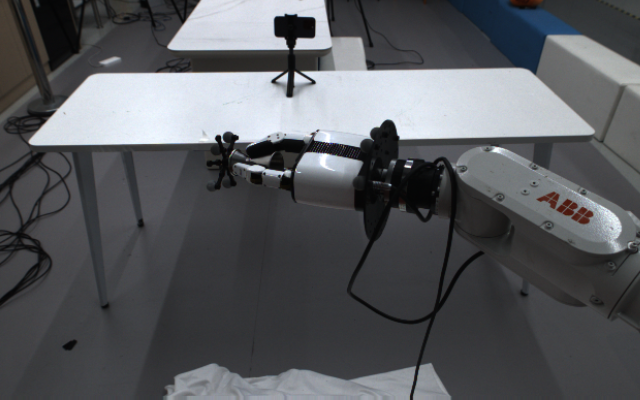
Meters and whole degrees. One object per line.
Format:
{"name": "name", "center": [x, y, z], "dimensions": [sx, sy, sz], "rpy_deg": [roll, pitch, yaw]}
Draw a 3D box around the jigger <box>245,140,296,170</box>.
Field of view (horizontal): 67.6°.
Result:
{"name": "jigger", "center": [-0.087, -0.053, 0.692], "dimensions": [0.071, 0.043, 0.043], "rpy_deg": [7, 34, 23]}
